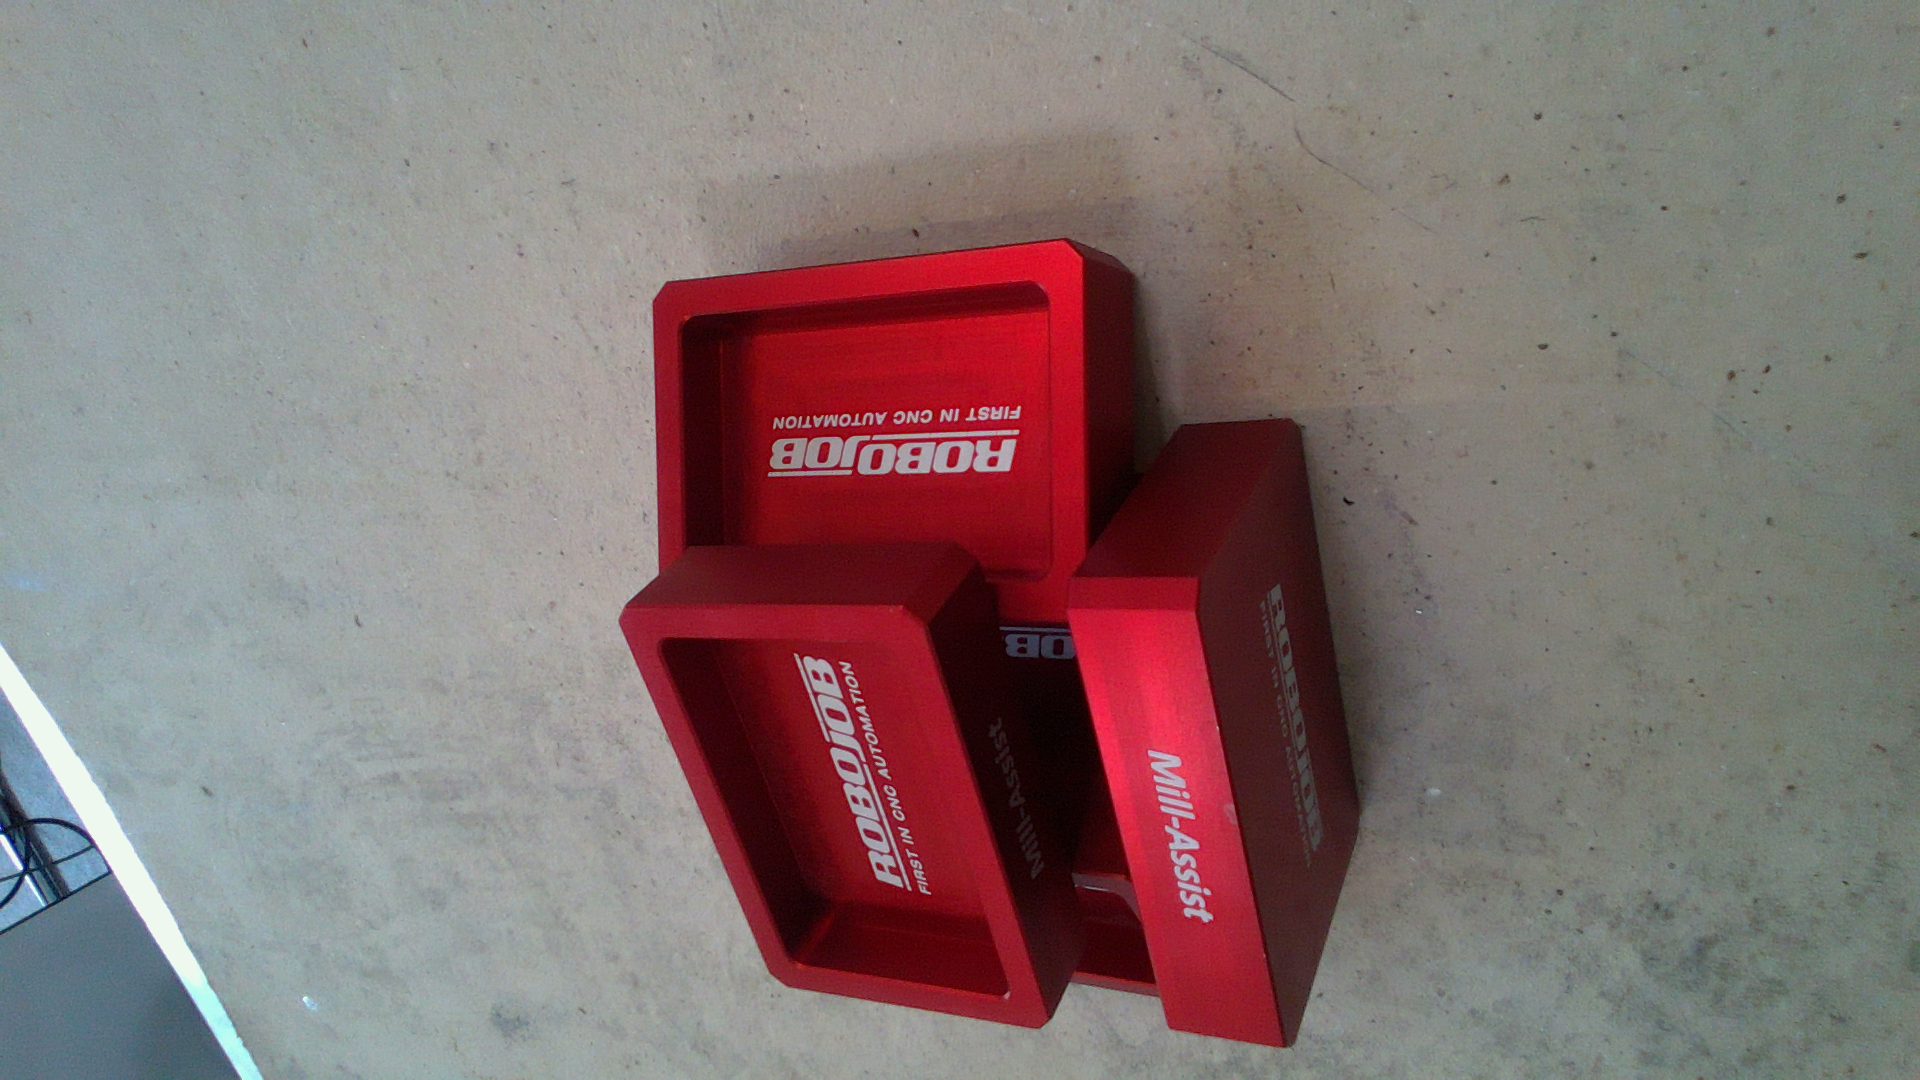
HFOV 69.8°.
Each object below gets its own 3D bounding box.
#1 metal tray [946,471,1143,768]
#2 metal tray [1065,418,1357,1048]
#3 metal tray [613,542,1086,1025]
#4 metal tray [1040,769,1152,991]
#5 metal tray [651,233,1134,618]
[{"bbox_3d":[0.007,0.028,0.401,0.130,0.030,0.090,-1,120,29],"label":"metal tray"},{"bbox_3d":[0.068,0.046,0.342,0.030,0.090,0.130,-1,119,29],"label":"metal tray"},{"bbox_3d":[-0.026,0.064,0.359,0.090,0.030,0.130,-1,120,29],"label":"metal tray"},{"bbox_3d":[0.011,0.103,0.426,0.130,0.030,0.090,0,143,28],"label":"metal tray"},{"bbox_3d":[-0.021,-0.027,0.362,0.130,0.030,0.090,0,91,28],"label":"metal tray"}]
